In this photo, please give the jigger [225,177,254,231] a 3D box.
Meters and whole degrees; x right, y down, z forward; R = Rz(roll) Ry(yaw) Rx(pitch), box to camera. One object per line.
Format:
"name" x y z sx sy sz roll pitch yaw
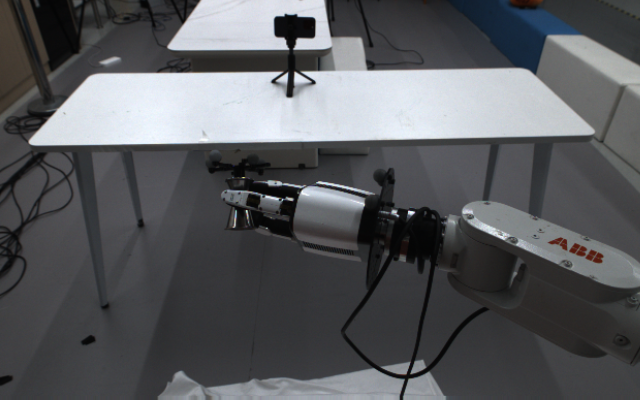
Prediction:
"jigger" -0.108 0.006 0.656 0.043 0.071 0.043 -2 -7 0
